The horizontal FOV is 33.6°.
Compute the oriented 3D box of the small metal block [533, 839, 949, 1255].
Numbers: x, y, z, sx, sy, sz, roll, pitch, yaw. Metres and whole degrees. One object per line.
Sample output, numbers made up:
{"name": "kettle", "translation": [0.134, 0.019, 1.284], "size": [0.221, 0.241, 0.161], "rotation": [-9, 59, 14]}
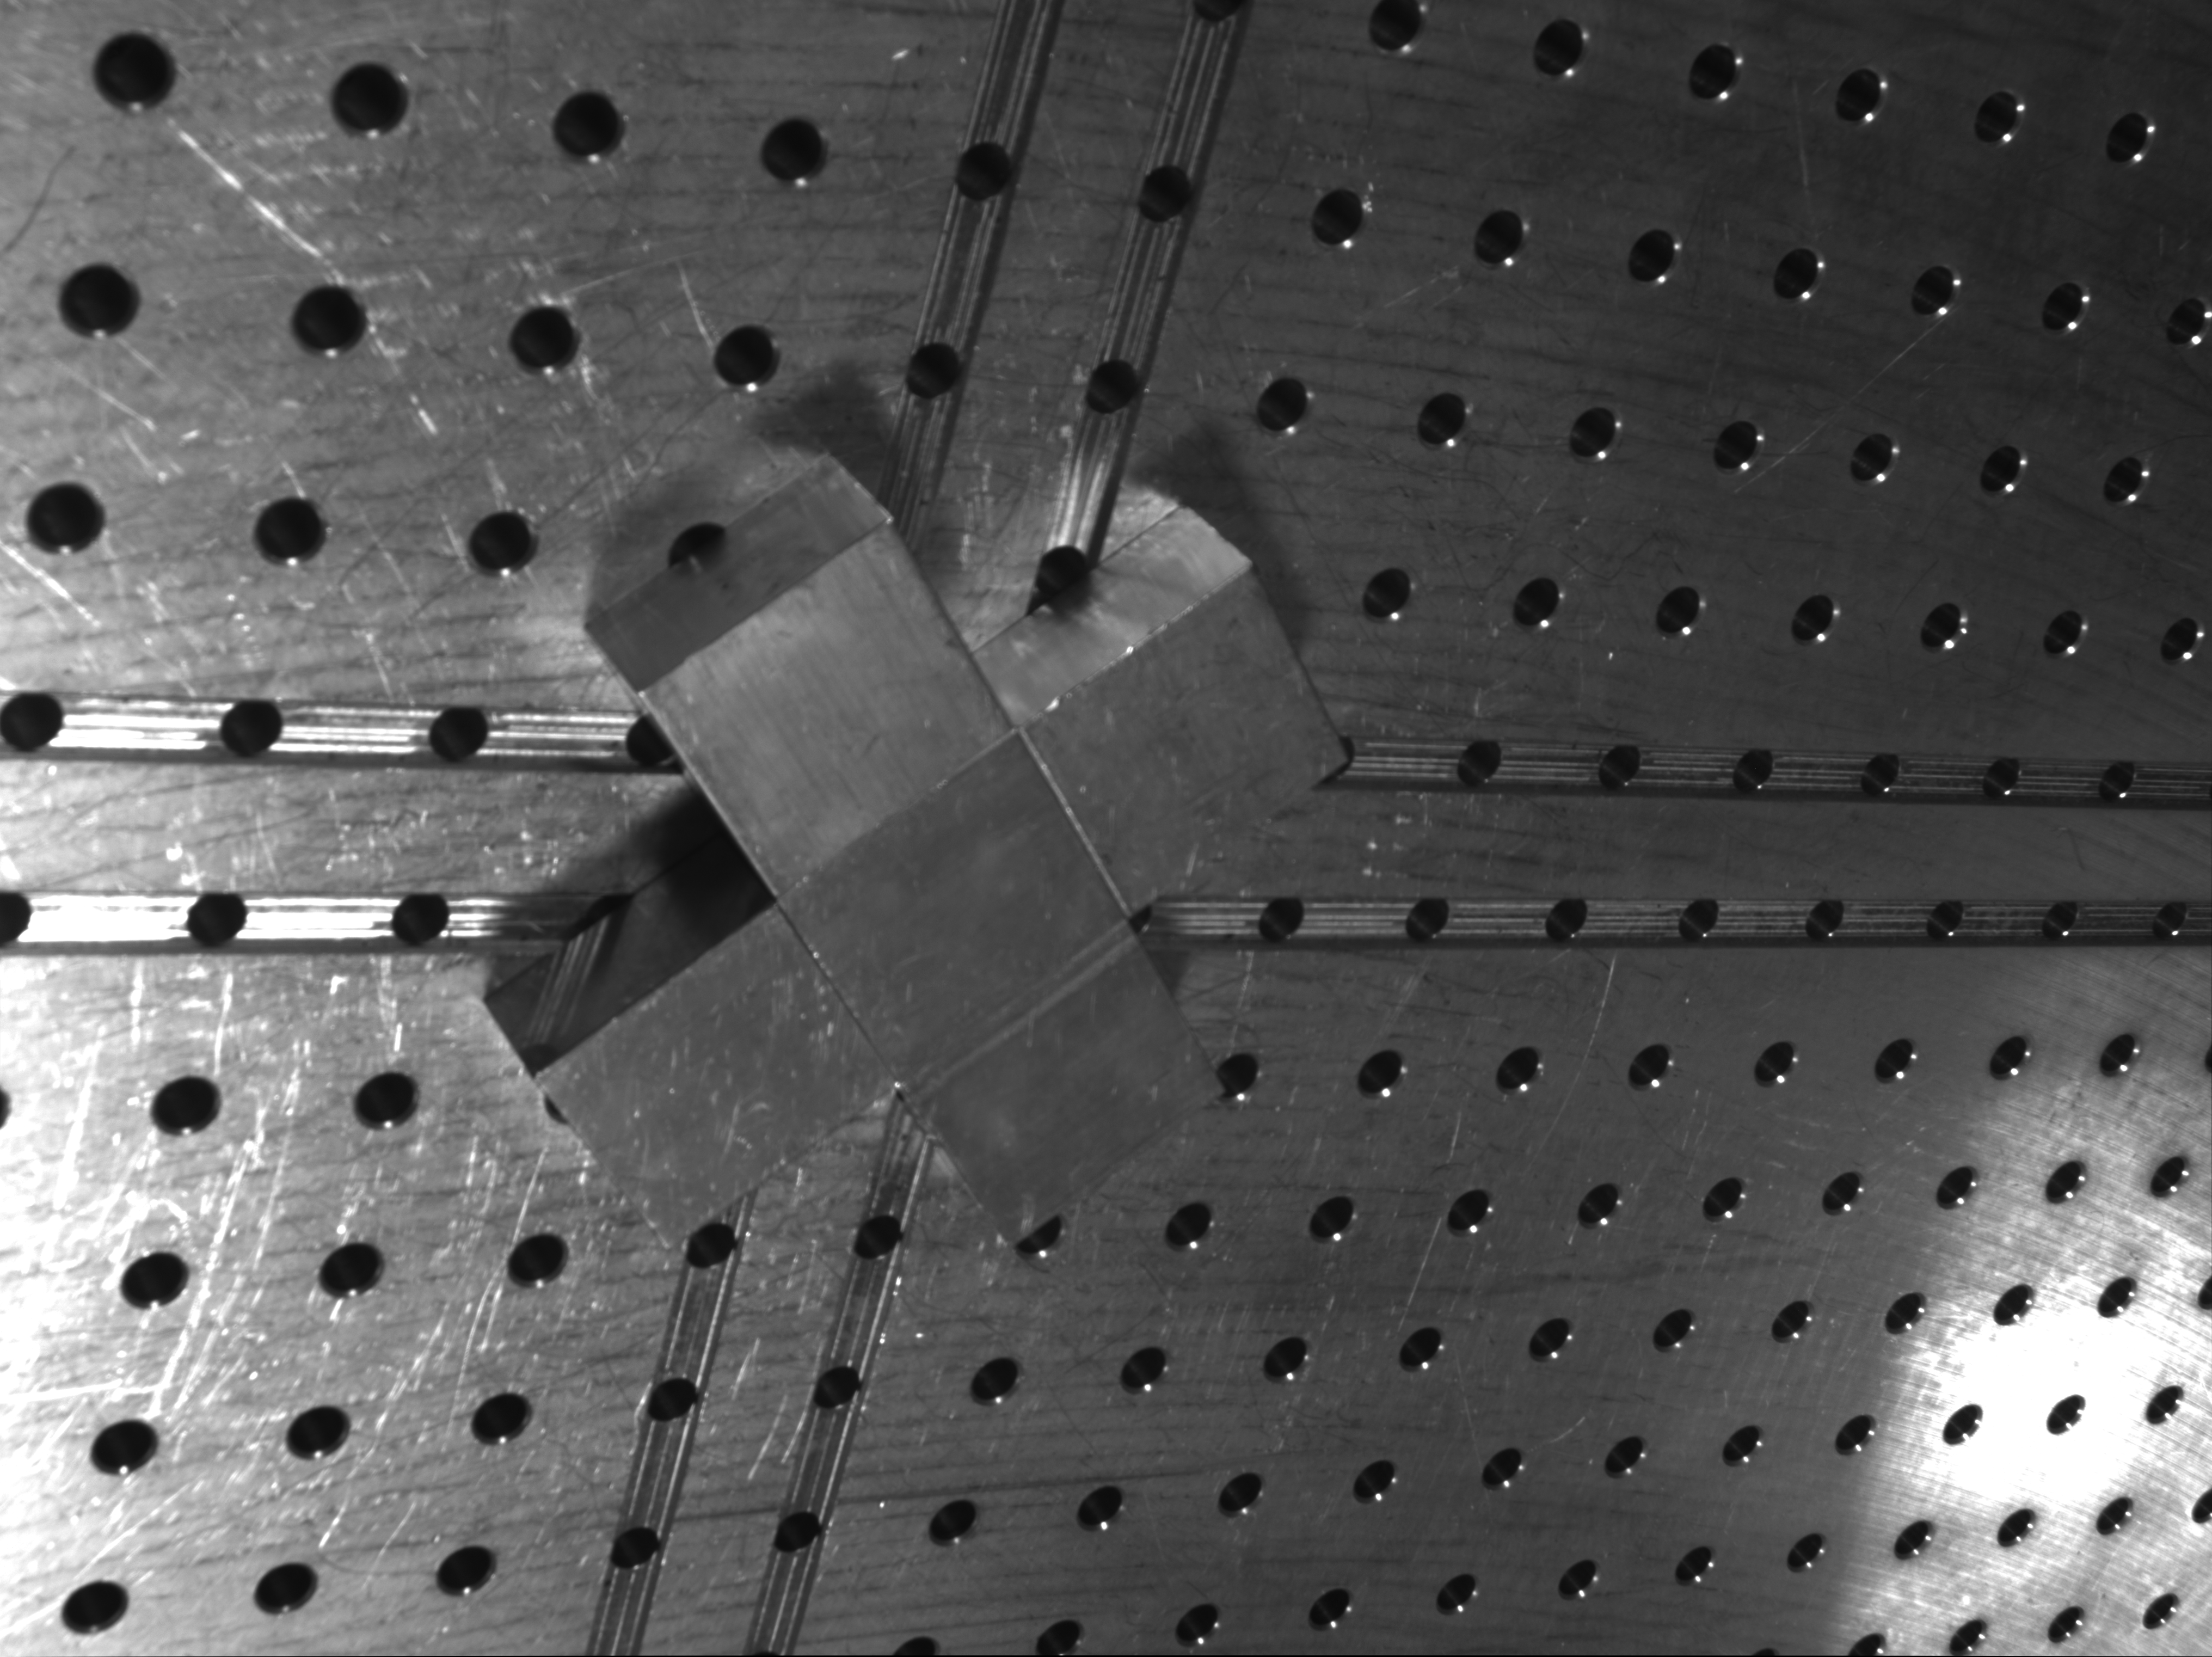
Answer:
{"name": "small metal block", "translation": [-0.063, 0.038, 0.641], "size": [0.050, 0.025, 0.050], "rotation": [-36, 130, -6]}

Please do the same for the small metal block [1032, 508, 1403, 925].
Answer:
{"name": "small metal block", "translation": [0.018, -0.020, 0.652], "size": [0.050, 0.025, 0.050], "rotation": [-36, 130, -6]}

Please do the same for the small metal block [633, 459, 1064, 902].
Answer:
{"name": "small metal block", "translation": [-0.043, -0.025, 0.614], "size": [0.050, 0.025, 0.050], "rotation": [-36, 130, -7]}

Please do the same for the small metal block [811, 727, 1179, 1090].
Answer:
{"name": "small metal block", "translation": [-0.022, 0.009, 0.645], "size": [0.050, 0.025, 0.050], "rotation": [-36, 130, -6]}

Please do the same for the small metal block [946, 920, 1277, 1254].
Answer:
{"name": "small metal block", "translation": [-0.003, 0.042, 0.678], "size": [0.050, 0.025, 0.050], "rotation": [-36, 130, -7]}
